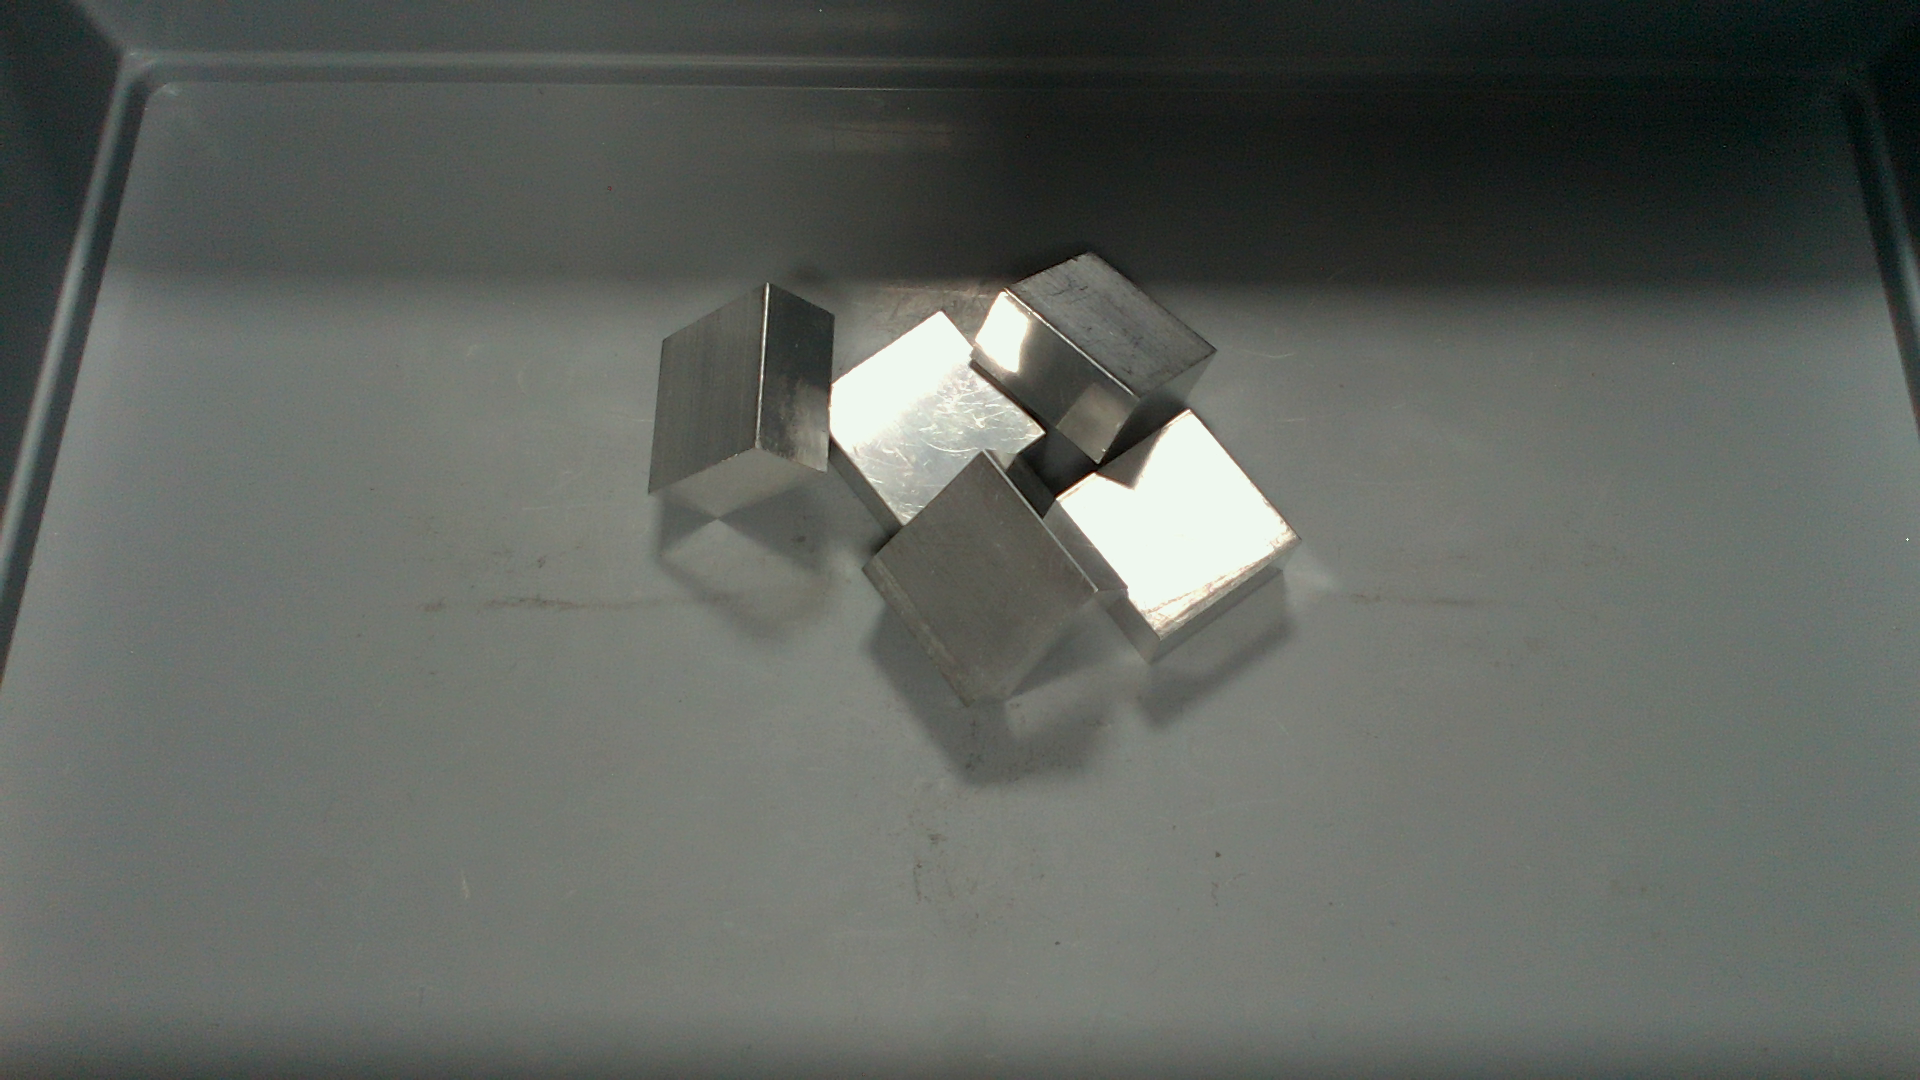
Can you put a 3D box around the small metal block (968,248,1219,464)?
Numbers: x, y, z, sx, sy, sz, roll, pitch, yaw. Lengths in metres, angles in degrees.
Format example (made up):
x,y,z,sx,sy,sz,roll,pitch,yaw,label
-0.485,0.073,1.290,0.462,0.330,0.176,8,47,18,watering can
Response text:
x,y,z,sx,sy,sz,roll,pitch,yaw,label
0.039,-0.055,0.401,0.050,0.025,0.050,41,40,13,small metal block

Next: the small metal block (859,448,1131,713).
x,y,z,sx,sy,sz,roll,pitch,yaw,label
0.009,0.011,0.377,0.050,0.025,0.050,-44,73,18,small metal block

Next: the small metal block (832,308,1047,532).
x,y,z,sx,sy,sz,roll,pitch,yaw,label
-0.010,-0.031,0.405,0.050,0.025,0.050,-36,74,-12,small metal block

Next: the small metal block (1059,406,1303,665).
x,y,z,sx,sy,sz,roll,pitch,yaw,label
0.060,-0.001,0.394,0.050,0.025,0.050,-34,74,-12,small metal block

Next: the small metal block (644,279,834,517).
x,y,z,sx,sy,sz,roll,pitch,yaw,label
-0.063,-0.039,0.393,0.050,0.025,0.050,-18,62,41,small metal block
